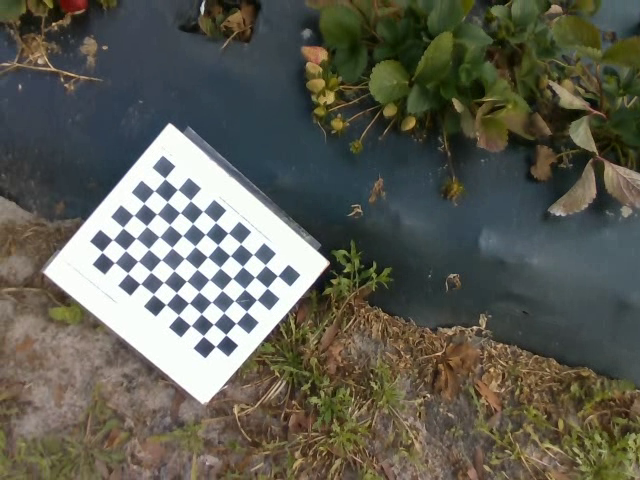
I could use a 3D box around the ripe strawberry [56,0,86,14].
[{"bbox_3d":[-0.353,-0.349,1.175,0.046,0.043,0.047,38,-4,27],"label":"ripe strawberry"}]
